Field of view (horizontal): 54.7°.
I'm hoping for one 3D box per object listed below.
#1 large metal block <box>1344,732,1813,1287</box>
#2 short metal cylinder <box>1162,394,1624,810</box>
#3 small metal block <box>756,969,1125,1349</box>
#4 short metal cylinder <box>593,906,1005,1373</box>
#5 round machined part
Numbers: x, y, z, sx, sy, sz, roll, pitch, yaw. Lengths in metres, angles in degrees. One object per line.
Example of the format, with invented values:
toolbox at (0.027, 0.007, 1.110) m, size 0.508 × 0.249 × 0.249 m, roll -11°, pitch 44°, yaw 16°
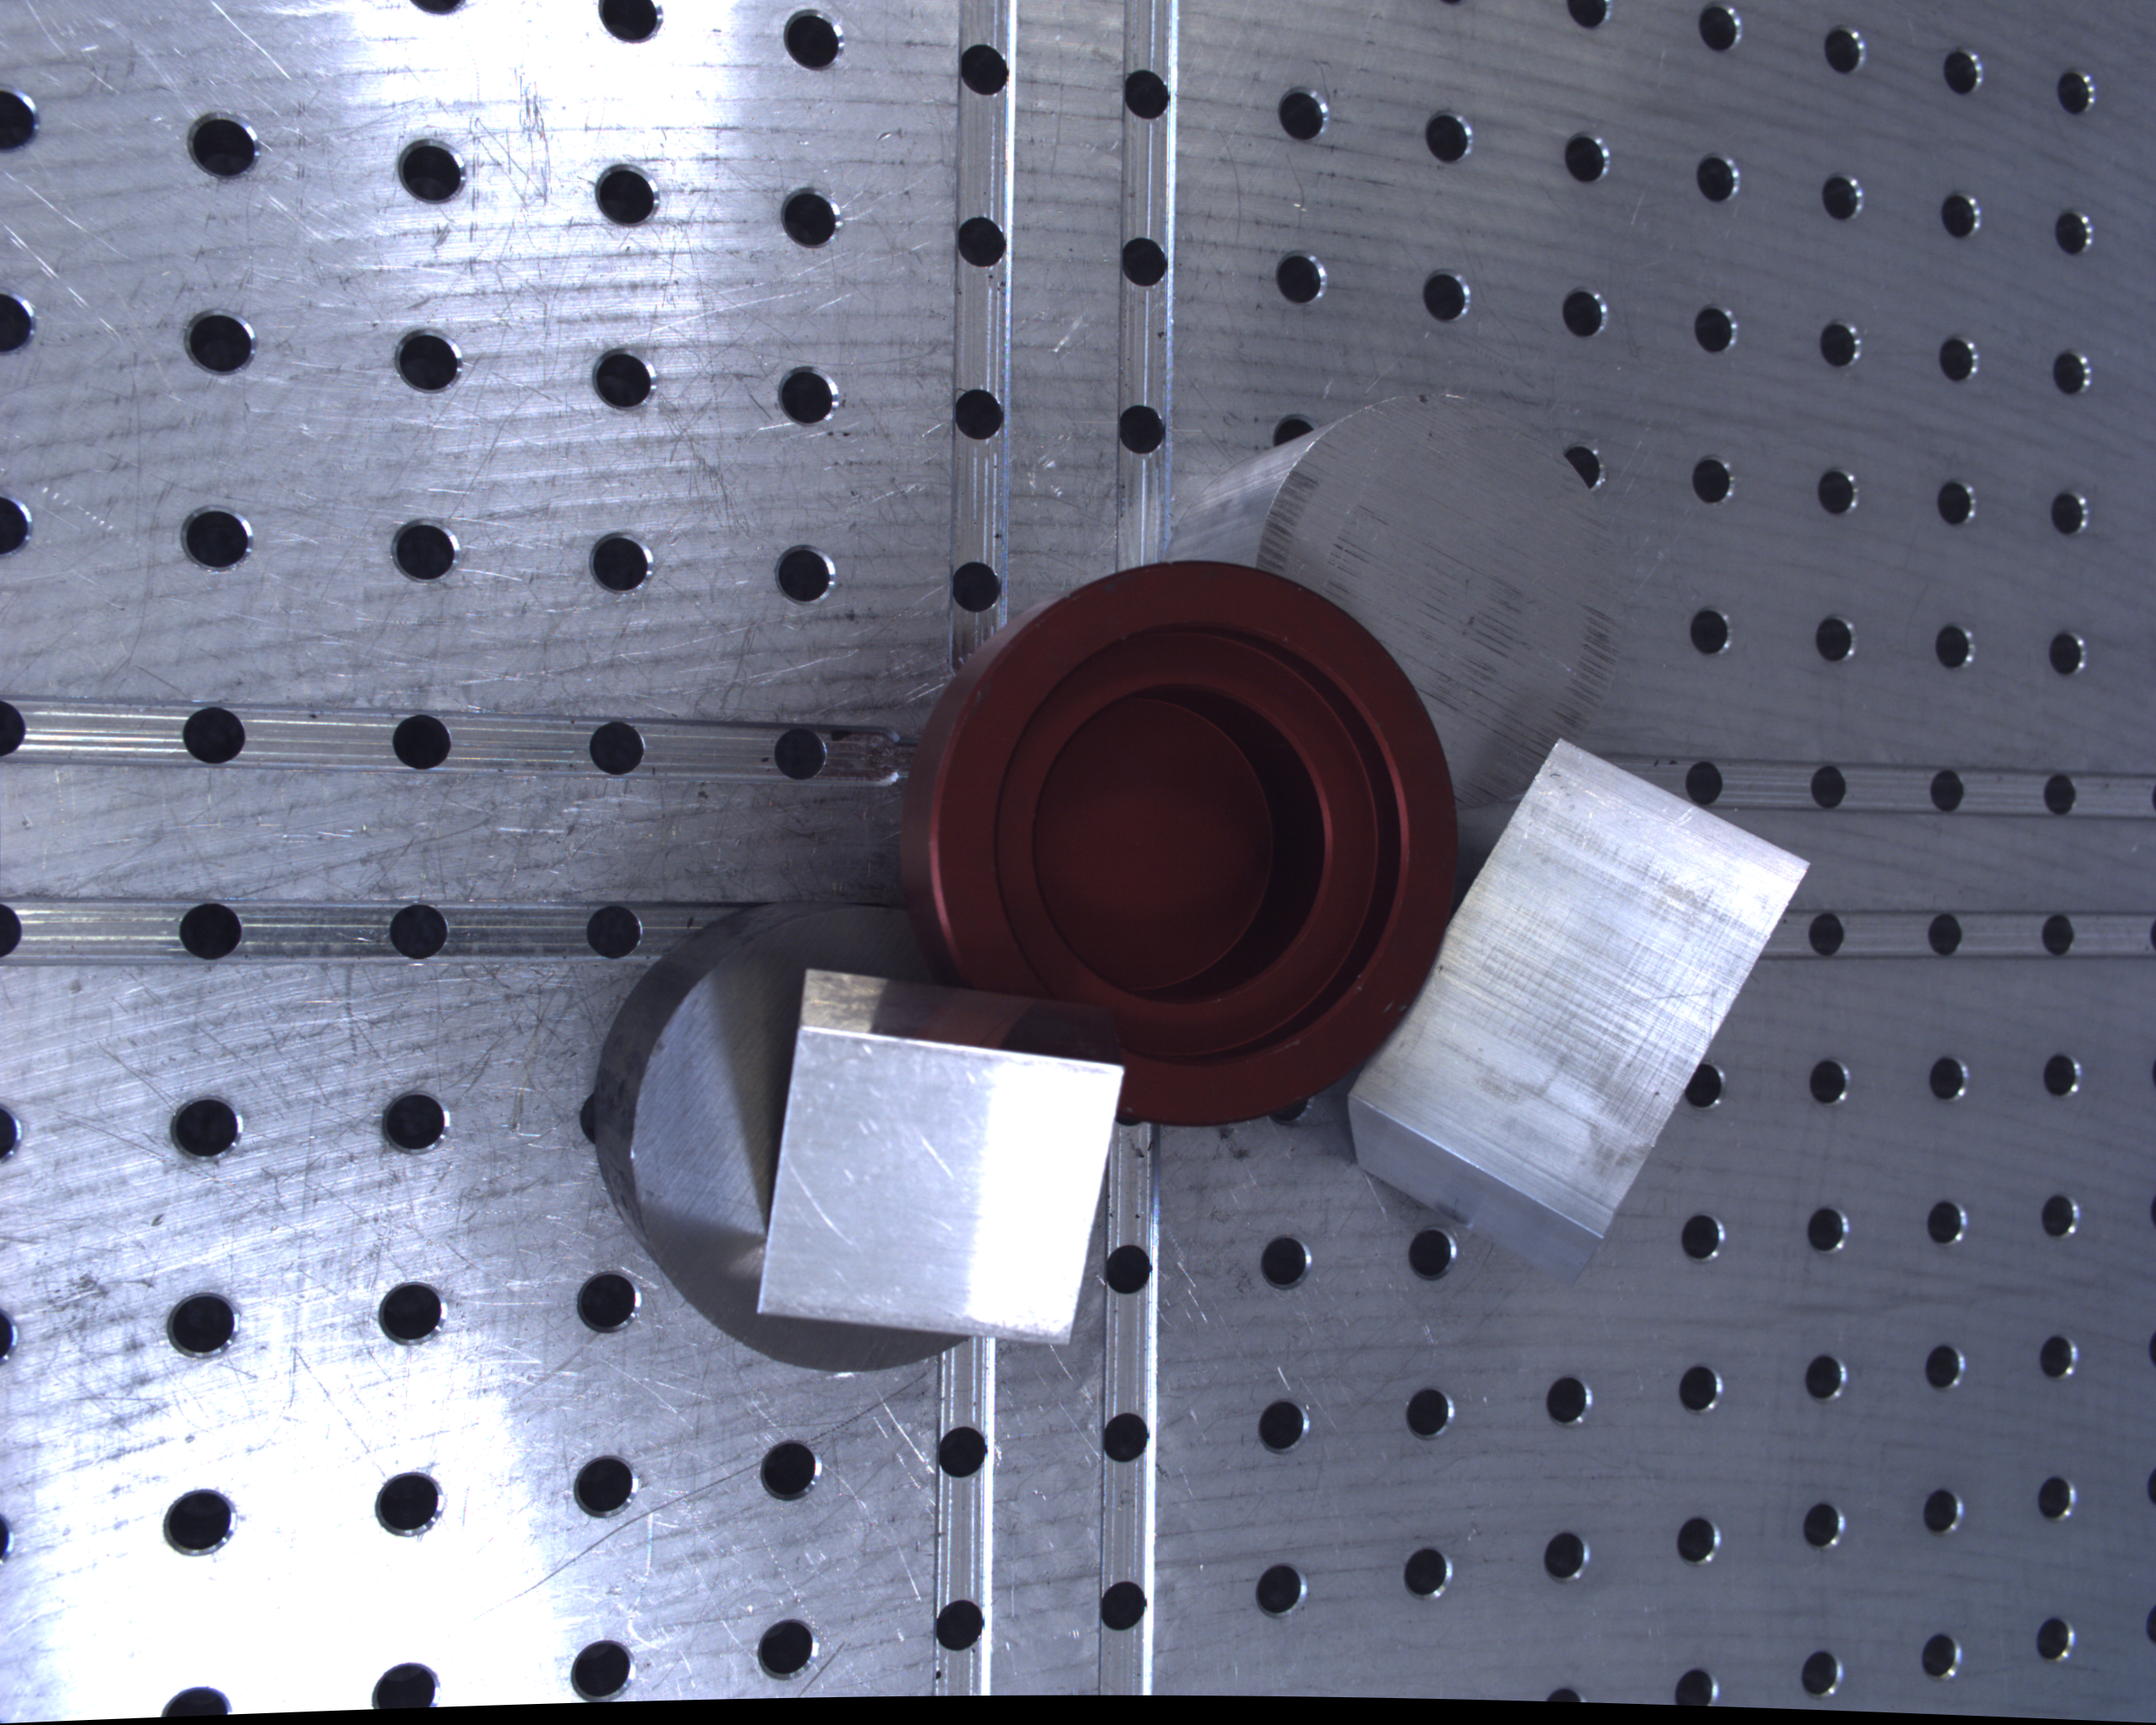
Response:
large metal block at (0.096, 0.032, 0.412) m, size 0.050 × 0.080 × 0.080 m, roll 29°, pitch 79°, yaw 17°
short metal cylinder at (0.062, -0.050, 0.422) m, size 0.081 × 0.050 × 0.079 m, roll 0°, pitch 90°, yaw -20°
small metal block at (-0.023, 0.048, 0.338) m, size 0.050 × 0.025 × 0.050 m, roll 8°, pitch 107°, yaw -8°
short metal cylinder at (-0.045, 0.048, 0.382) m, size 0.081 × 0.050 × 0.079 m, roll 0°, pitch 90°, yaw -20°
round machined part at (0.015, -0.004, 0.378) m, size 0.099 × 0.042 × 0.097 m, roll 0°, pitch 90°, yaw -20°
